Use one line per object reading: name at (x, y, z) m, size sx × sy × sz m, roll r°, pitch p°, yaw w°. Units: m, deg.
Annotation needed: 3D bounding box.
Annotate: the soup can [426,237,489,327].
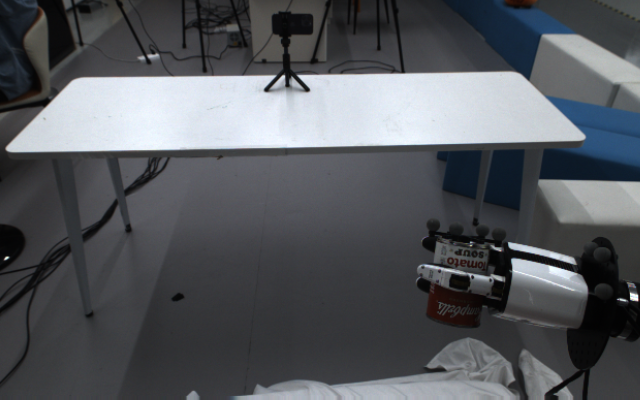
soup can at (0.176, 0.101, 0.612) m, size 0.067 × 0.101 × 0.067 m, roll 7°, pitch 3°, yaw 0°
